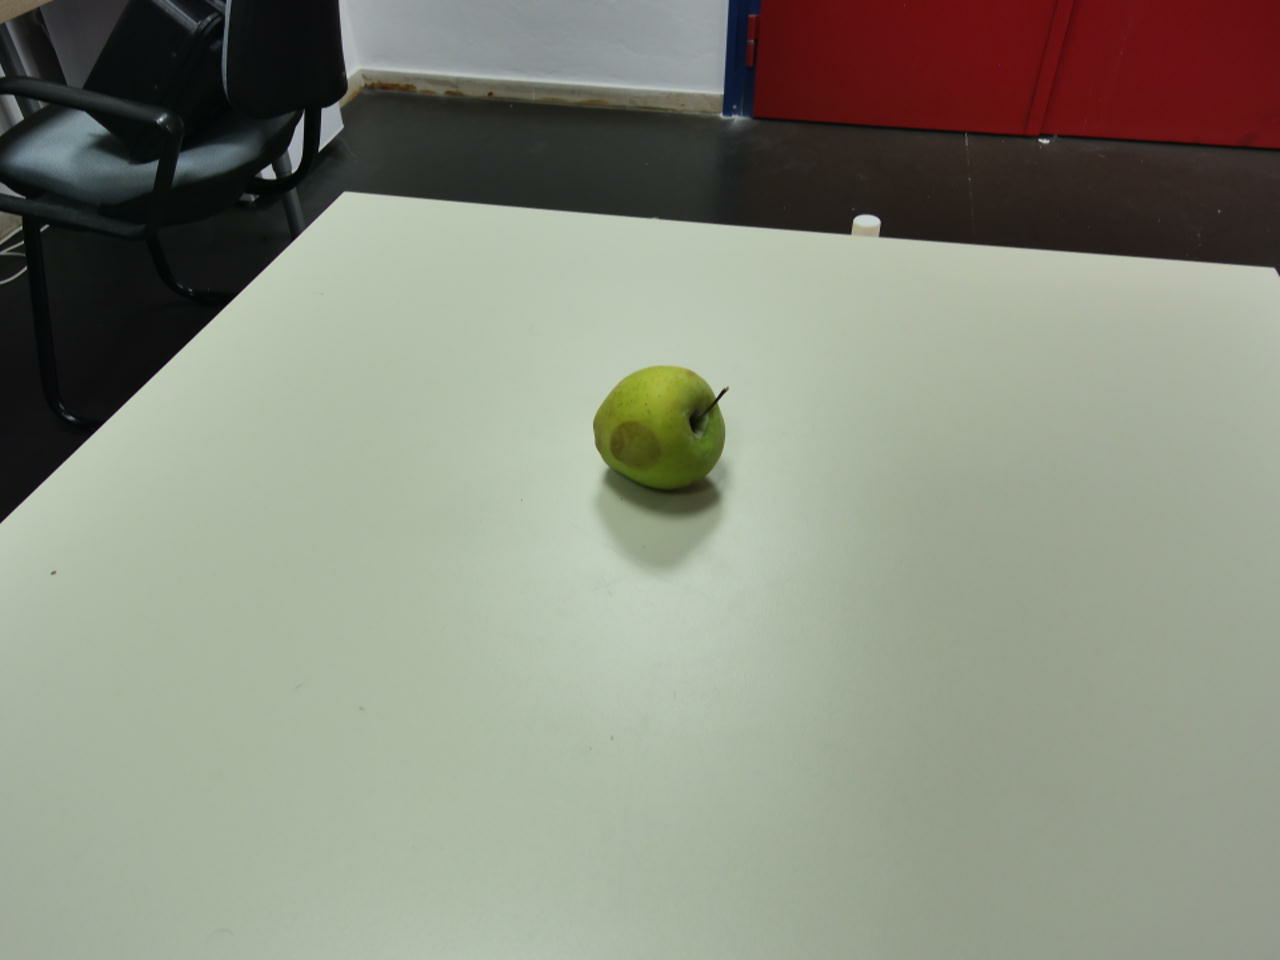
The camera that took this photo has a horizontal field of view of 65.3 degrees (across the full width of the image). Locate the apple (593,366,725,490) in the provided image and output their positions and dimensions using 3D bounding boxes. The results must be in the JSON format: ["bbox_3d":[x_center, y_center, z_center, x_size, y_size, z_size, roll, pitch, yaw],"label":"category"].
[{"bbox_3d":[0.013,-0.033,0.598,0.072,0.075,0.077,-22,44,-25],"label":"apple"}]
